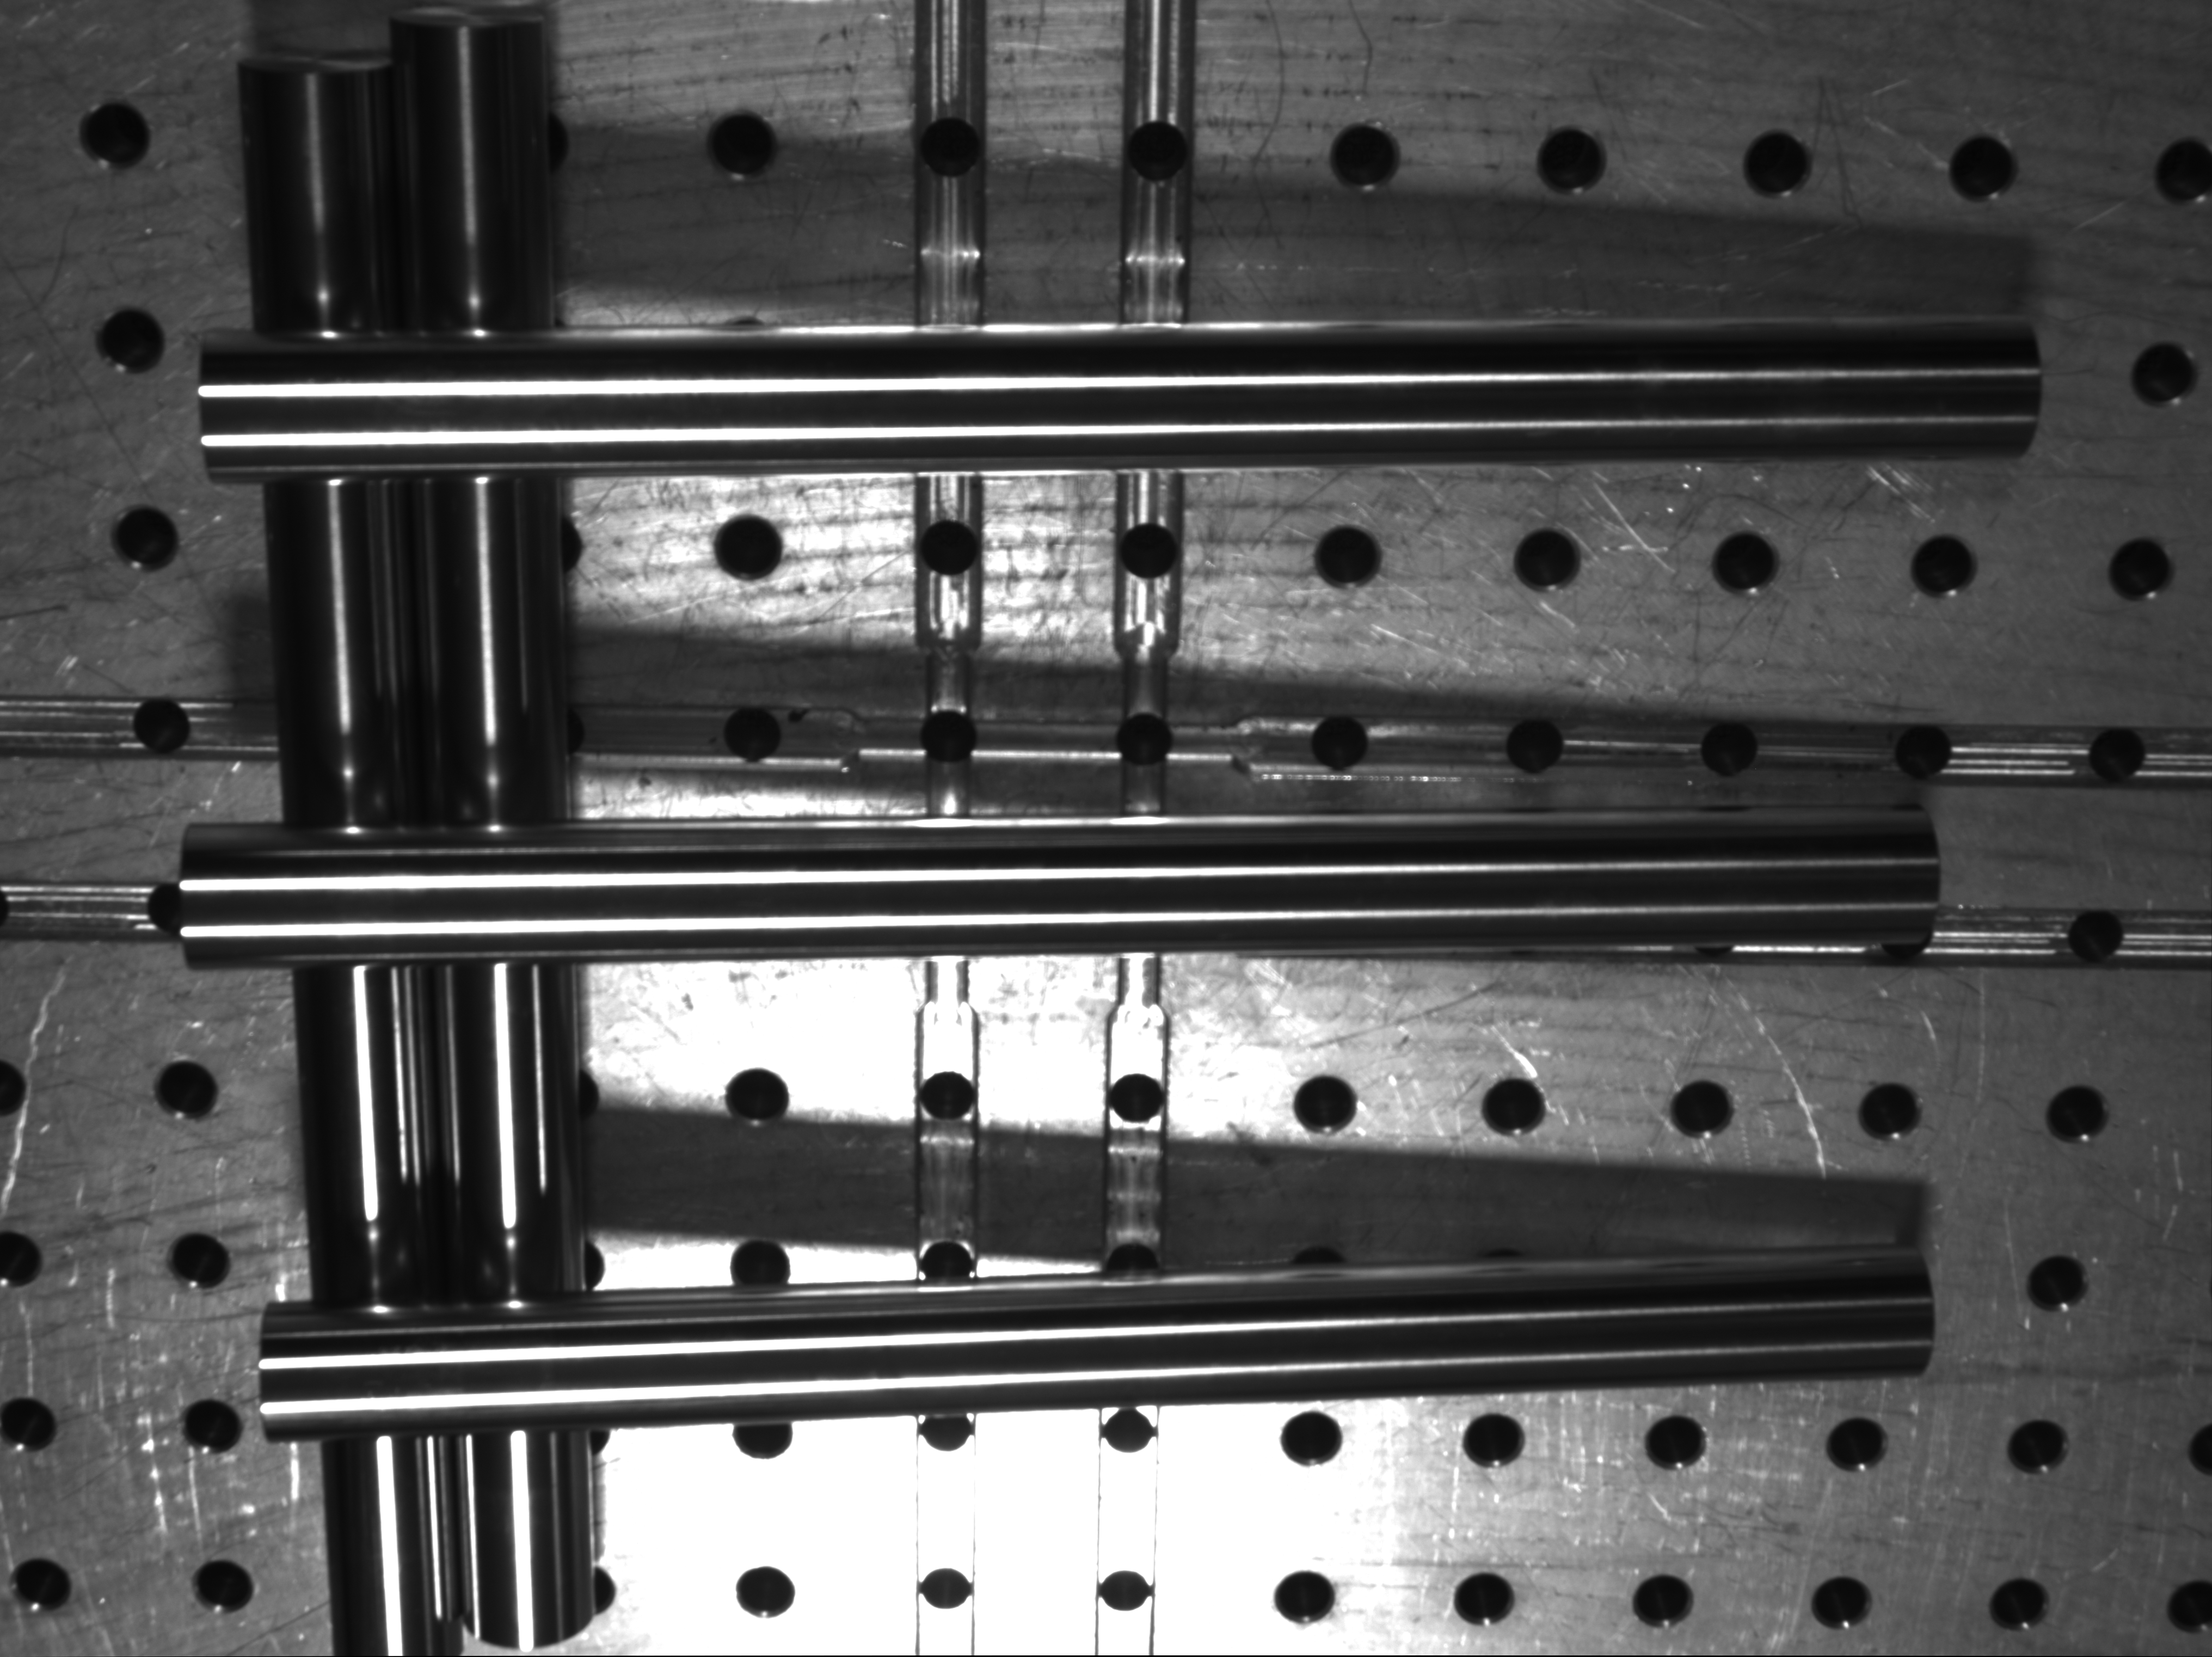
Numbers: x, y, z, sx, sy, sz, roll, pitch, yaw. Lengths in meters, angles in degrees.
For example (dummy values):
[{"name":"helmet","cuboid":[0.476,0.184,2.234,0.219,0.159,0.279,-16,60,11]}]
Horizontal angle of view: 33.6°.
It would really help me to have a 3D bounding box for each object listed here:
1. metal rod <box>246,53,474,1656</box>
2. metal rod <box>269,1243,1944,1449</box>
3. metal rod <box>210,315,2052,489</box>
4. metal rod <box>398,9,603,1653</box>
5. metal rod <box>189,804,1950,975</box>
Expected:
[{"name":"metal rod","cuboid":[-0.131,0.016,0.649,0.025,0.025,0.300,1,110,-1]},{"name":"metal rod","cuboid":[0.003,0.093,0.664,0.300,0.025,0.025,-1,110,-7]},{"name":"metal rod","cuboid":[0.007,-0.071,0.605,0.300,0.025,0.025,-1,110,-6]},{"name":"metal rod","cuboid":[-0.106,0.009,0.647,0.025,0.025,0.300,1,110,-1]},{"name":"metal rod","cuboid":[-0.003,0.010,0.633,0.300,0.025,0.025,-1,110,-7]}]
